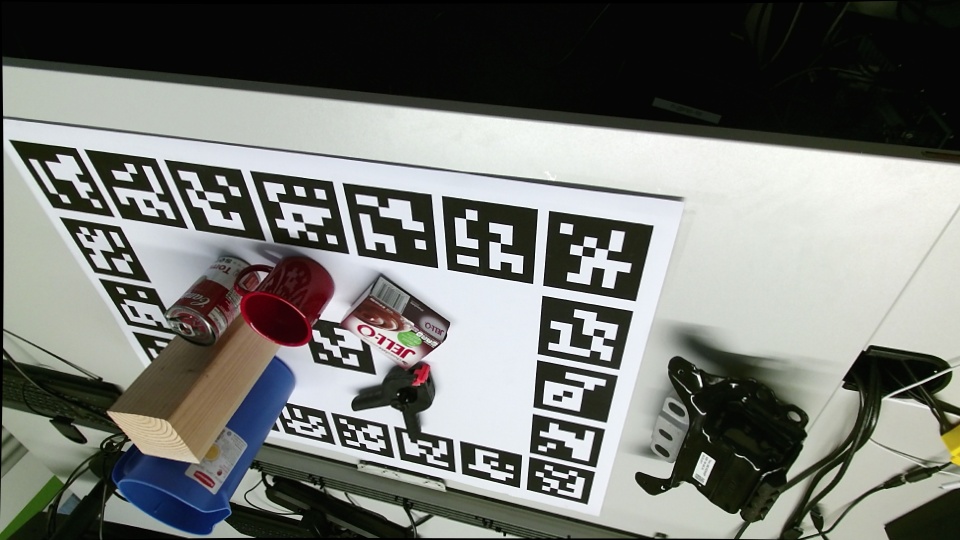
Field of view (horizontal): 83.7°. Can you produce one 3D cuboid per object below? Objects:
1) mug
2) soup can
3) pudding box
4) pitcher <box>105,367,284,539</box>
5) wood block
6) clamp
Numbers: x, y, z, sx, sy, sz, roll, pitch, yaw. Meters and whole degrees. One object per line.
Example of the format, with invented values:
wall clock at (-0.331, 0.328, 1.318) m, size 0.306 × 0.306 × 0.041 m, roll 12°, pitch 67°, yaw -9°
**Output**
mug at (-0.254, 0.037, 0.666) m, size 0.117 × 0.081 × 0.093 m, roll 34°, pitch 132°, yaw -13°
soup can at (-0.347, 0.047, 0.688) m, size 0.068 × 0.102 × 0.068 m, roll 8°, pitch 127°, yaw 11°
pudding box at (-0.109, 0.077, 0.687) m, size 0.114 × 0.038 × 0.090 m, roll 36°, pitch 126°, yaw -14°
pitcher at (-0.399, 0.247, 0.778) m, size 0.189 × 0.241 × 0.133 m, roll 5°, pitch 131°, yaw 10°
wood block at (-0.374, 0.146, 0.709) m, size 0.090 × 0.205 × 0.091 m, roll 7°, pitch 130°, yaw 16°
clamp at (-0.125, 0.196, 0.796) m, size 0.122 × 0.036 × 0.165 m, roll 34°, pitch 130°, yaw -2°
